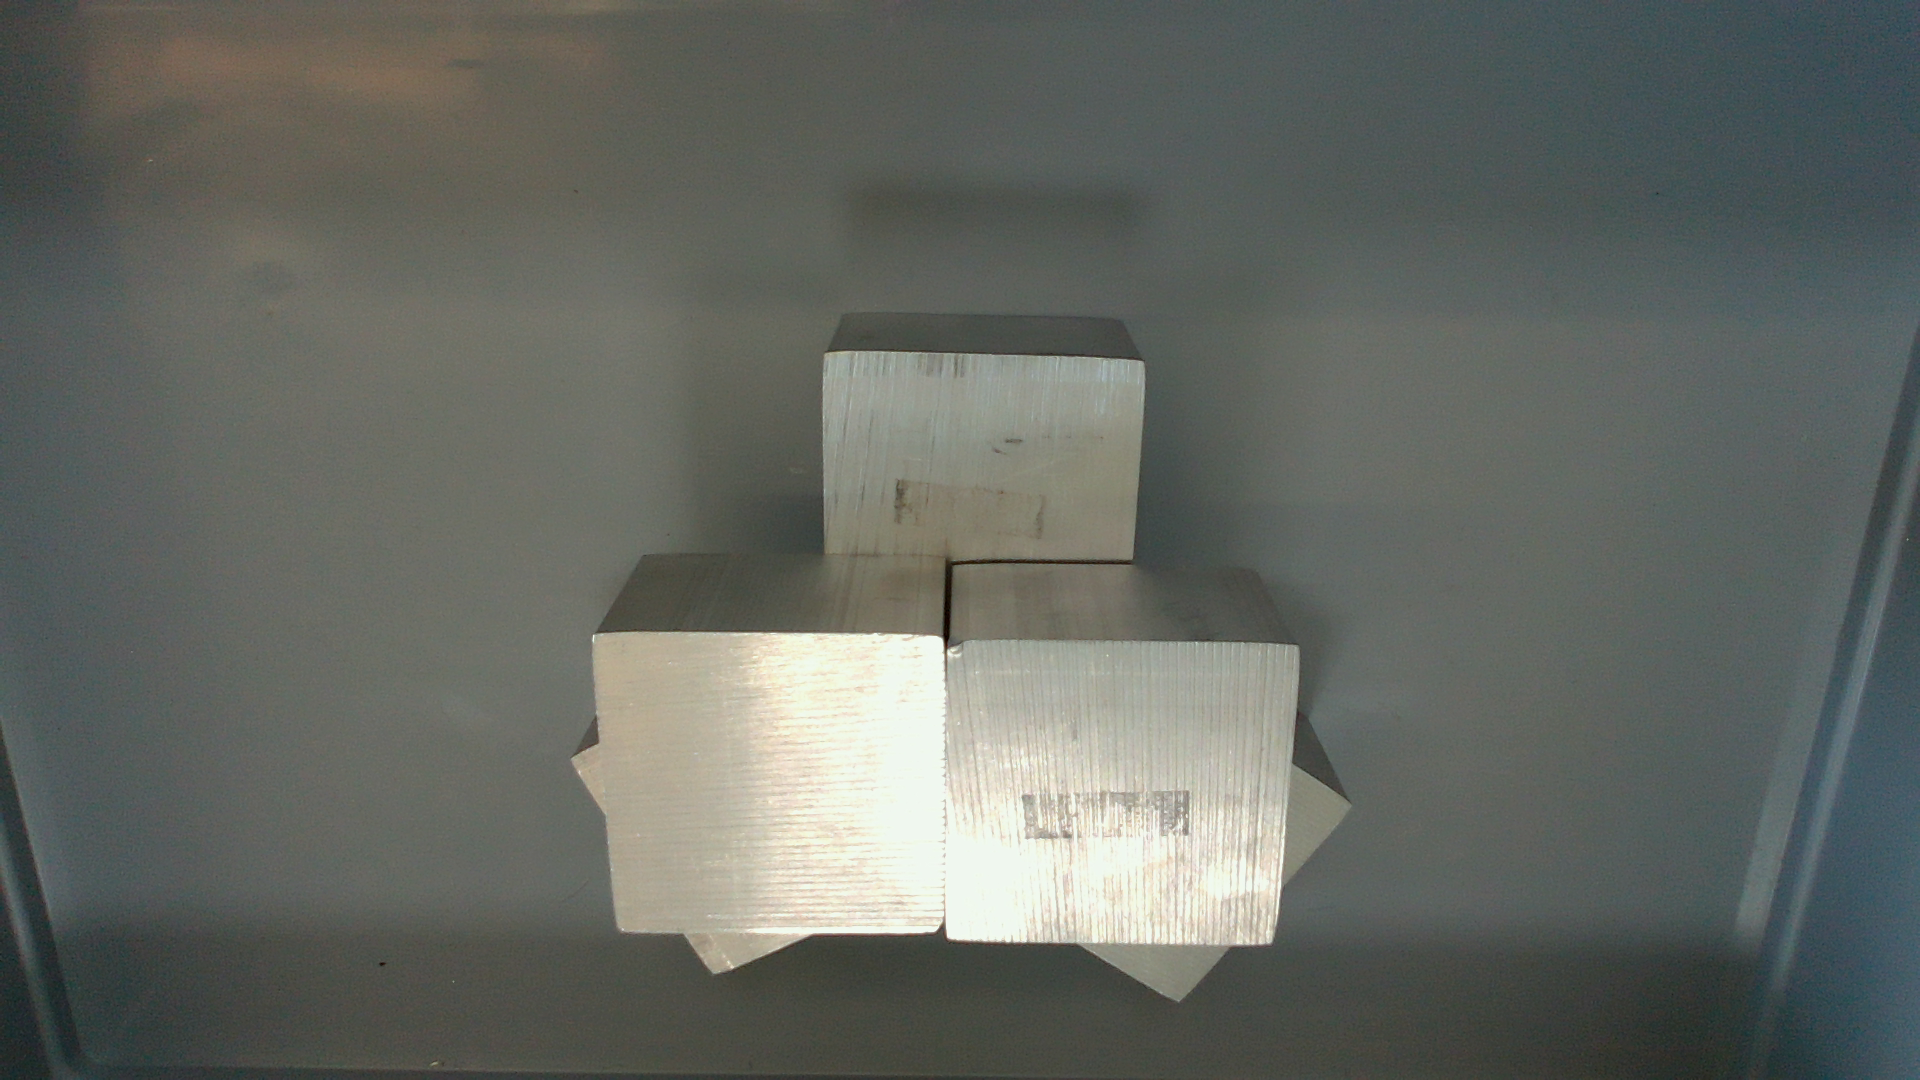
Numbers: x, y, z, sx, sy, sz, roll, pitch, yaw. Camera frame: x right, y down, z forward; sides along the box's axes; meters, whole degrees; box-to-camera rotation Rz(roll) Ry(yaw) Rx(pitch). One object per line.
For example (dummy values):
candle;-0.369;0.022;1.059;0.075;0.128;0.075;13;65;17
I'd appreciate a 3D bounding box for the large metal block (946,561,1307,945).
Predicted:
large metal block;0.037;0.052;0.344;0.080;0.050;0.080;1;110;0

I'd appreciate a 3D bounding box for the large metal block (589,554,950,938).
large metal block;-0.043;0.050;0.344;0.080;0.050;0.080;1;110;0

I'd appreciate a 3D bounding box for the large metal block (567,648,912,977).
large metal block;-0.053;0.068;0.404;0.080;0.050;0.080;-25;108;9

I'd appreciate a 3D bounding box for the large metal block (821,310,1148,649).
large metal block;0.005;-0.017;0.373;0.080;0.050;0.080;1;110;-1

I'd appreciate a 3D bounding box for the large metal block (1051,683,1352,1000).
large metal block;0.053;0.073;0.406;0.080;0.050;0.080;33;107;-11
